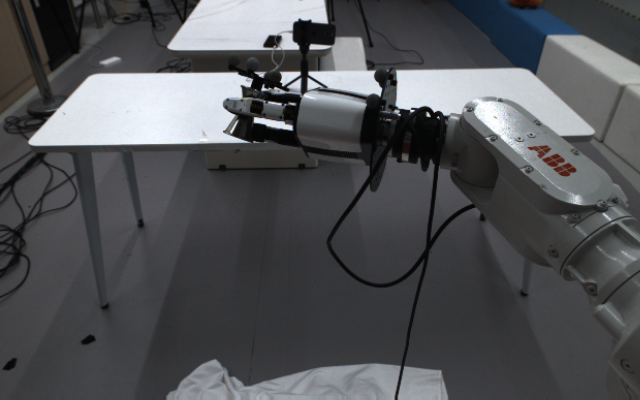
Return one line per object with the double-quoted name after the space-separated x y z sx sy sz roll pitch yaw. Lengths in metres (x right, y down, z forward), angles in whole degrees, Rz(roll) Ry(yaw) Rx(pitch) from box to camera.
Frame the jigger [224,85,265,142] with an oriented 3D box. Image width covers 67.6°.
-0.102 -0.118 0.661 0.043 0.071 0.043 21 6 -2 "jigger"
